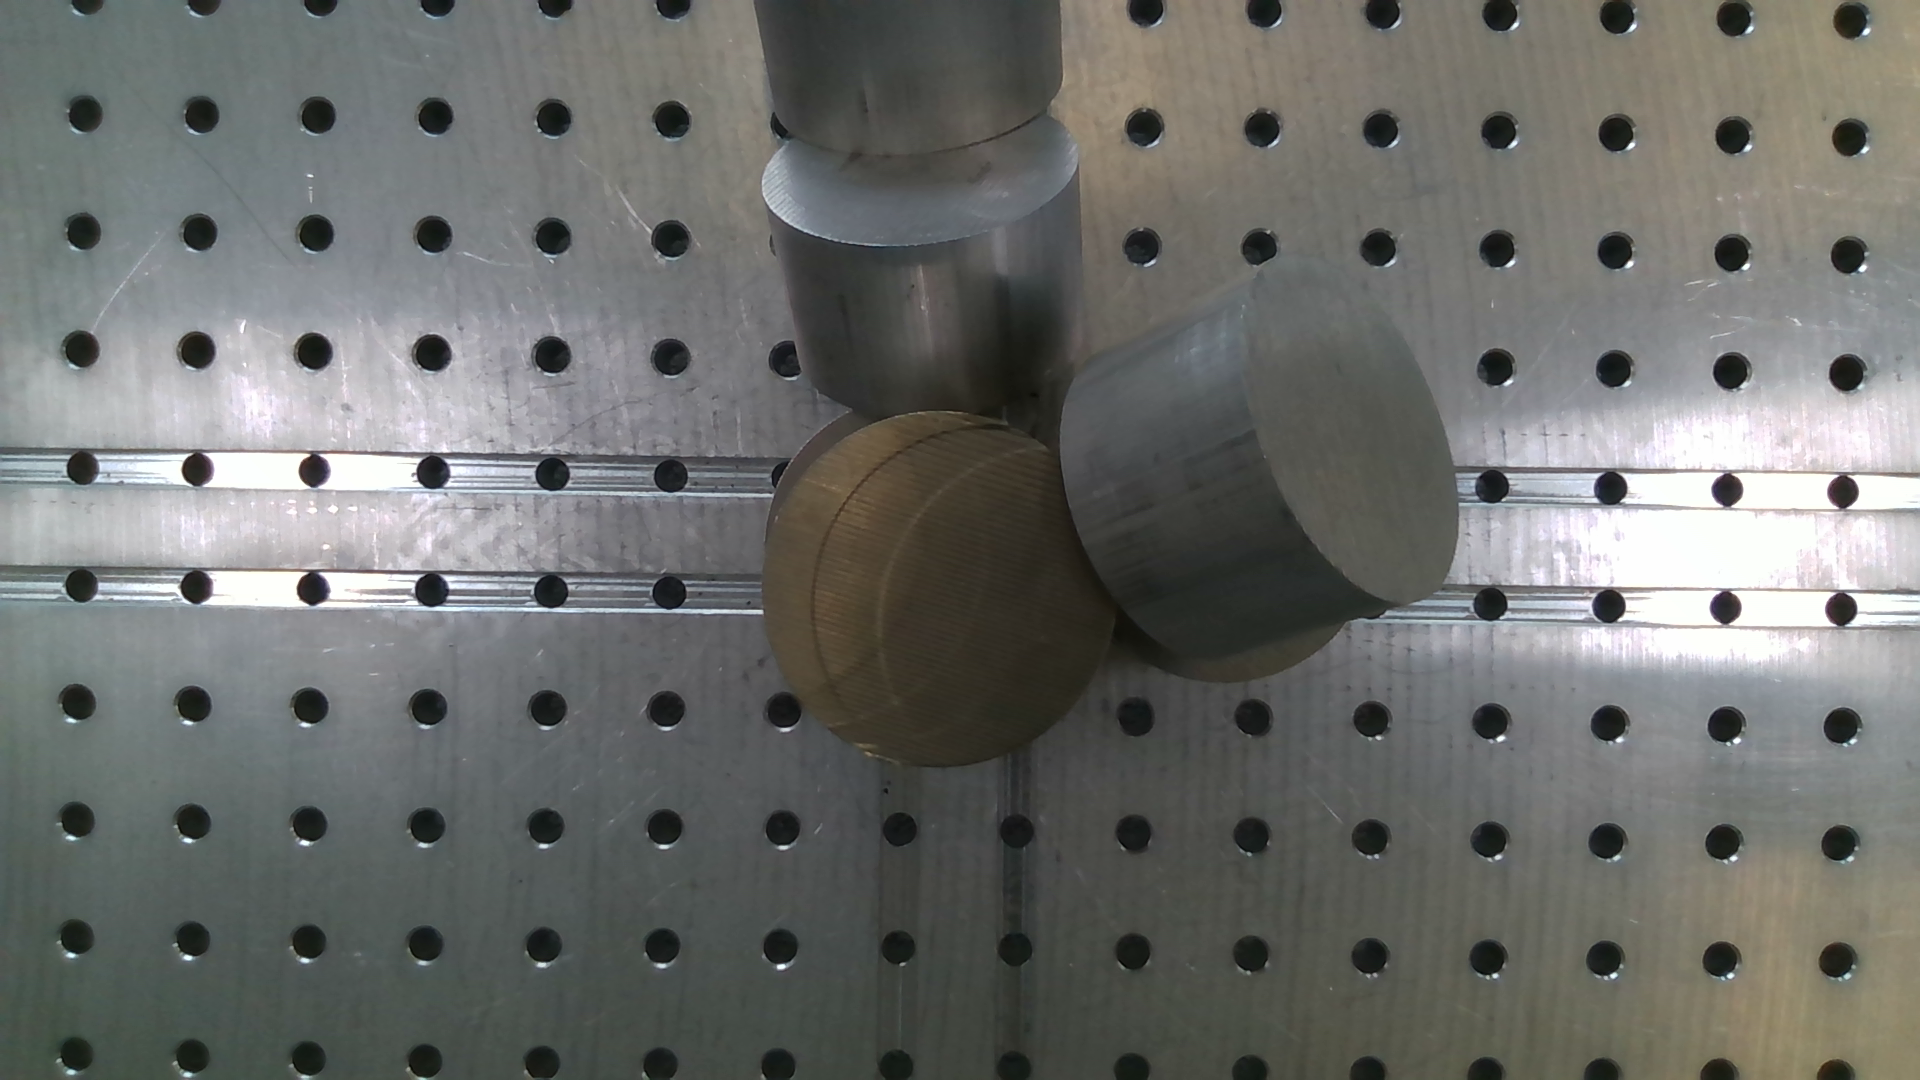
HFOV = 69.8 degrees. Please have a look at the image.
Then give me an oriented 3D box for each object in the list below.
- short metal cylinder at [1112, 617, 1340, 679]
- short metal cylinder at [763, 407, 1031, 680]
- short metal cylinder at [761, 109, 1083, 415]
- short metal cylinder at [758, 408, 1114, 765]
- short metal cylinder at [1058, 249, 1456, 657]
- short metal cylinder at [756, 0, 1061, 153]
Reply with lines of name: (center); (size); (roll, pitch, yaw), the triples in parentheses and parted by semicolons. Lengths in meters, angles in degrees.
short metal cylinder: (0.069, -0.004, 0.385); (0.080, 0.050, 0.080); (0, 90, 0)
short metal cylinder: (-0.012, 0.001, 0.384); (0.080, 0.050, 0.080); (0, 90, 0)
short metal cylinder: (-0.008, -0.076, 0.362); (0.080, 0.080, 0.050); (-7, 131, 0)
short metal cylinder: (-0.005, 0.011, 0.333); (0.080, 0.050, 0.080); (0, 90, 0)
short metal cylinder: (0.068, -0.018, 0.313); (0.050, 0.080, 0.080); (-24, 90, 43)
short metal cylinder: (-0.014, -0.144, 0.363); (0.080, 0.080, 0.050); (-8, 132, 0)
